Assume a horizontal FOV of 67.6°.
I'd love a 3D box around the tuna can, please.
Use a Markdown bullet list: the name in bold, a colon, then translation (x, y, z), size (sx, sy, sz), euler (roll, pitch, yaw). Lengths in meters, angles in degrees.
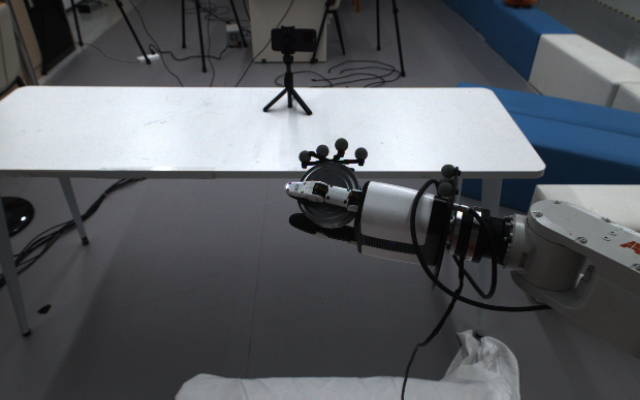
- **tuna can**: translation (0.014, -0.007, 0.650), size (0.085, 0.034, 0.085), euler (-5, 70, 14)
